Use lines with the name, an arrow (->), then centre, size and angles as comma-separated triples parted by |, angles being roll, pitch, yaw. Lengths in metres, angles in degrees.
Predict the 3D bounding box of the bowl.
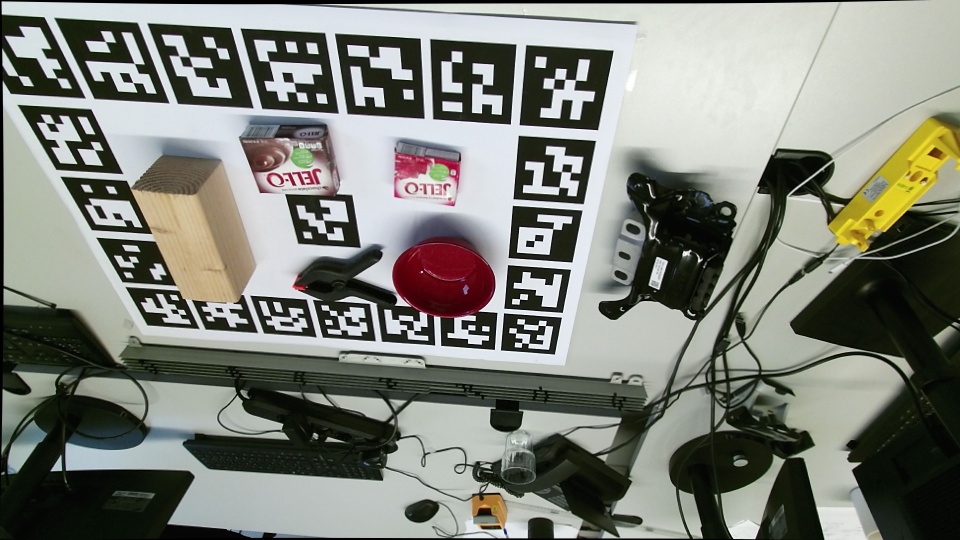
bowl -> -0.051, 0.002, 0.850 | 0.162, 0.055, 0.162 | 3, 128, 4

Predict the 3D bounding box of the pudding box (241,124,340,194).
pudding box -> -0.257, -0.153, 0.739 | 0.114, 0.038, 0.090 | 2, 126, 0

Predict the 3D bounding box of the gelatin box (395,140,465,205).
gelatin box -> -0.071, -0.134, 0.743 | 0.090, 0.030, 0.073 | 10, 129, -3

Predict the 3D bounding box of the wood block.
wood block -> -0.421, -0.057, 0.798 | 0.090, 0.090, 0.206 | 6, 130, 1

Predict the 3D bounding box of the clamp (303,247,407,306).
clamp -> -0.213, 0.017, 0.890 | 0.166, 0.036, 0.122 | -4, 130, 10
